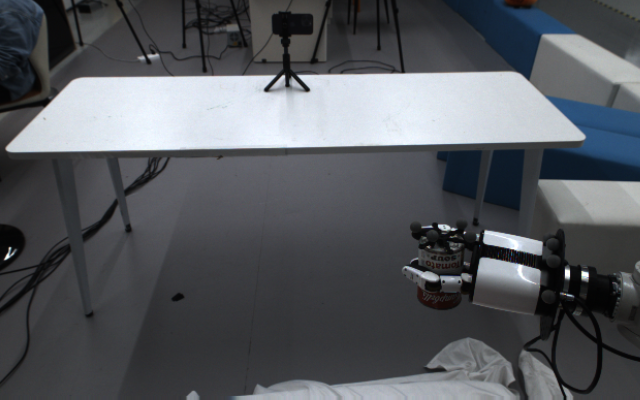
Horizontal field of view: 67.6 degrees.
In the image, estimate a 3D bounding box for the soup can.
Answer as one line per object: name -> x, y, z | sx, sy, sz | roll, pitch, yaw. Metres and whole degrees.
soup can -> 0.183, 0.104, 0.733 | 0.067, 0.101, 0.067 | -3, 25, 2
